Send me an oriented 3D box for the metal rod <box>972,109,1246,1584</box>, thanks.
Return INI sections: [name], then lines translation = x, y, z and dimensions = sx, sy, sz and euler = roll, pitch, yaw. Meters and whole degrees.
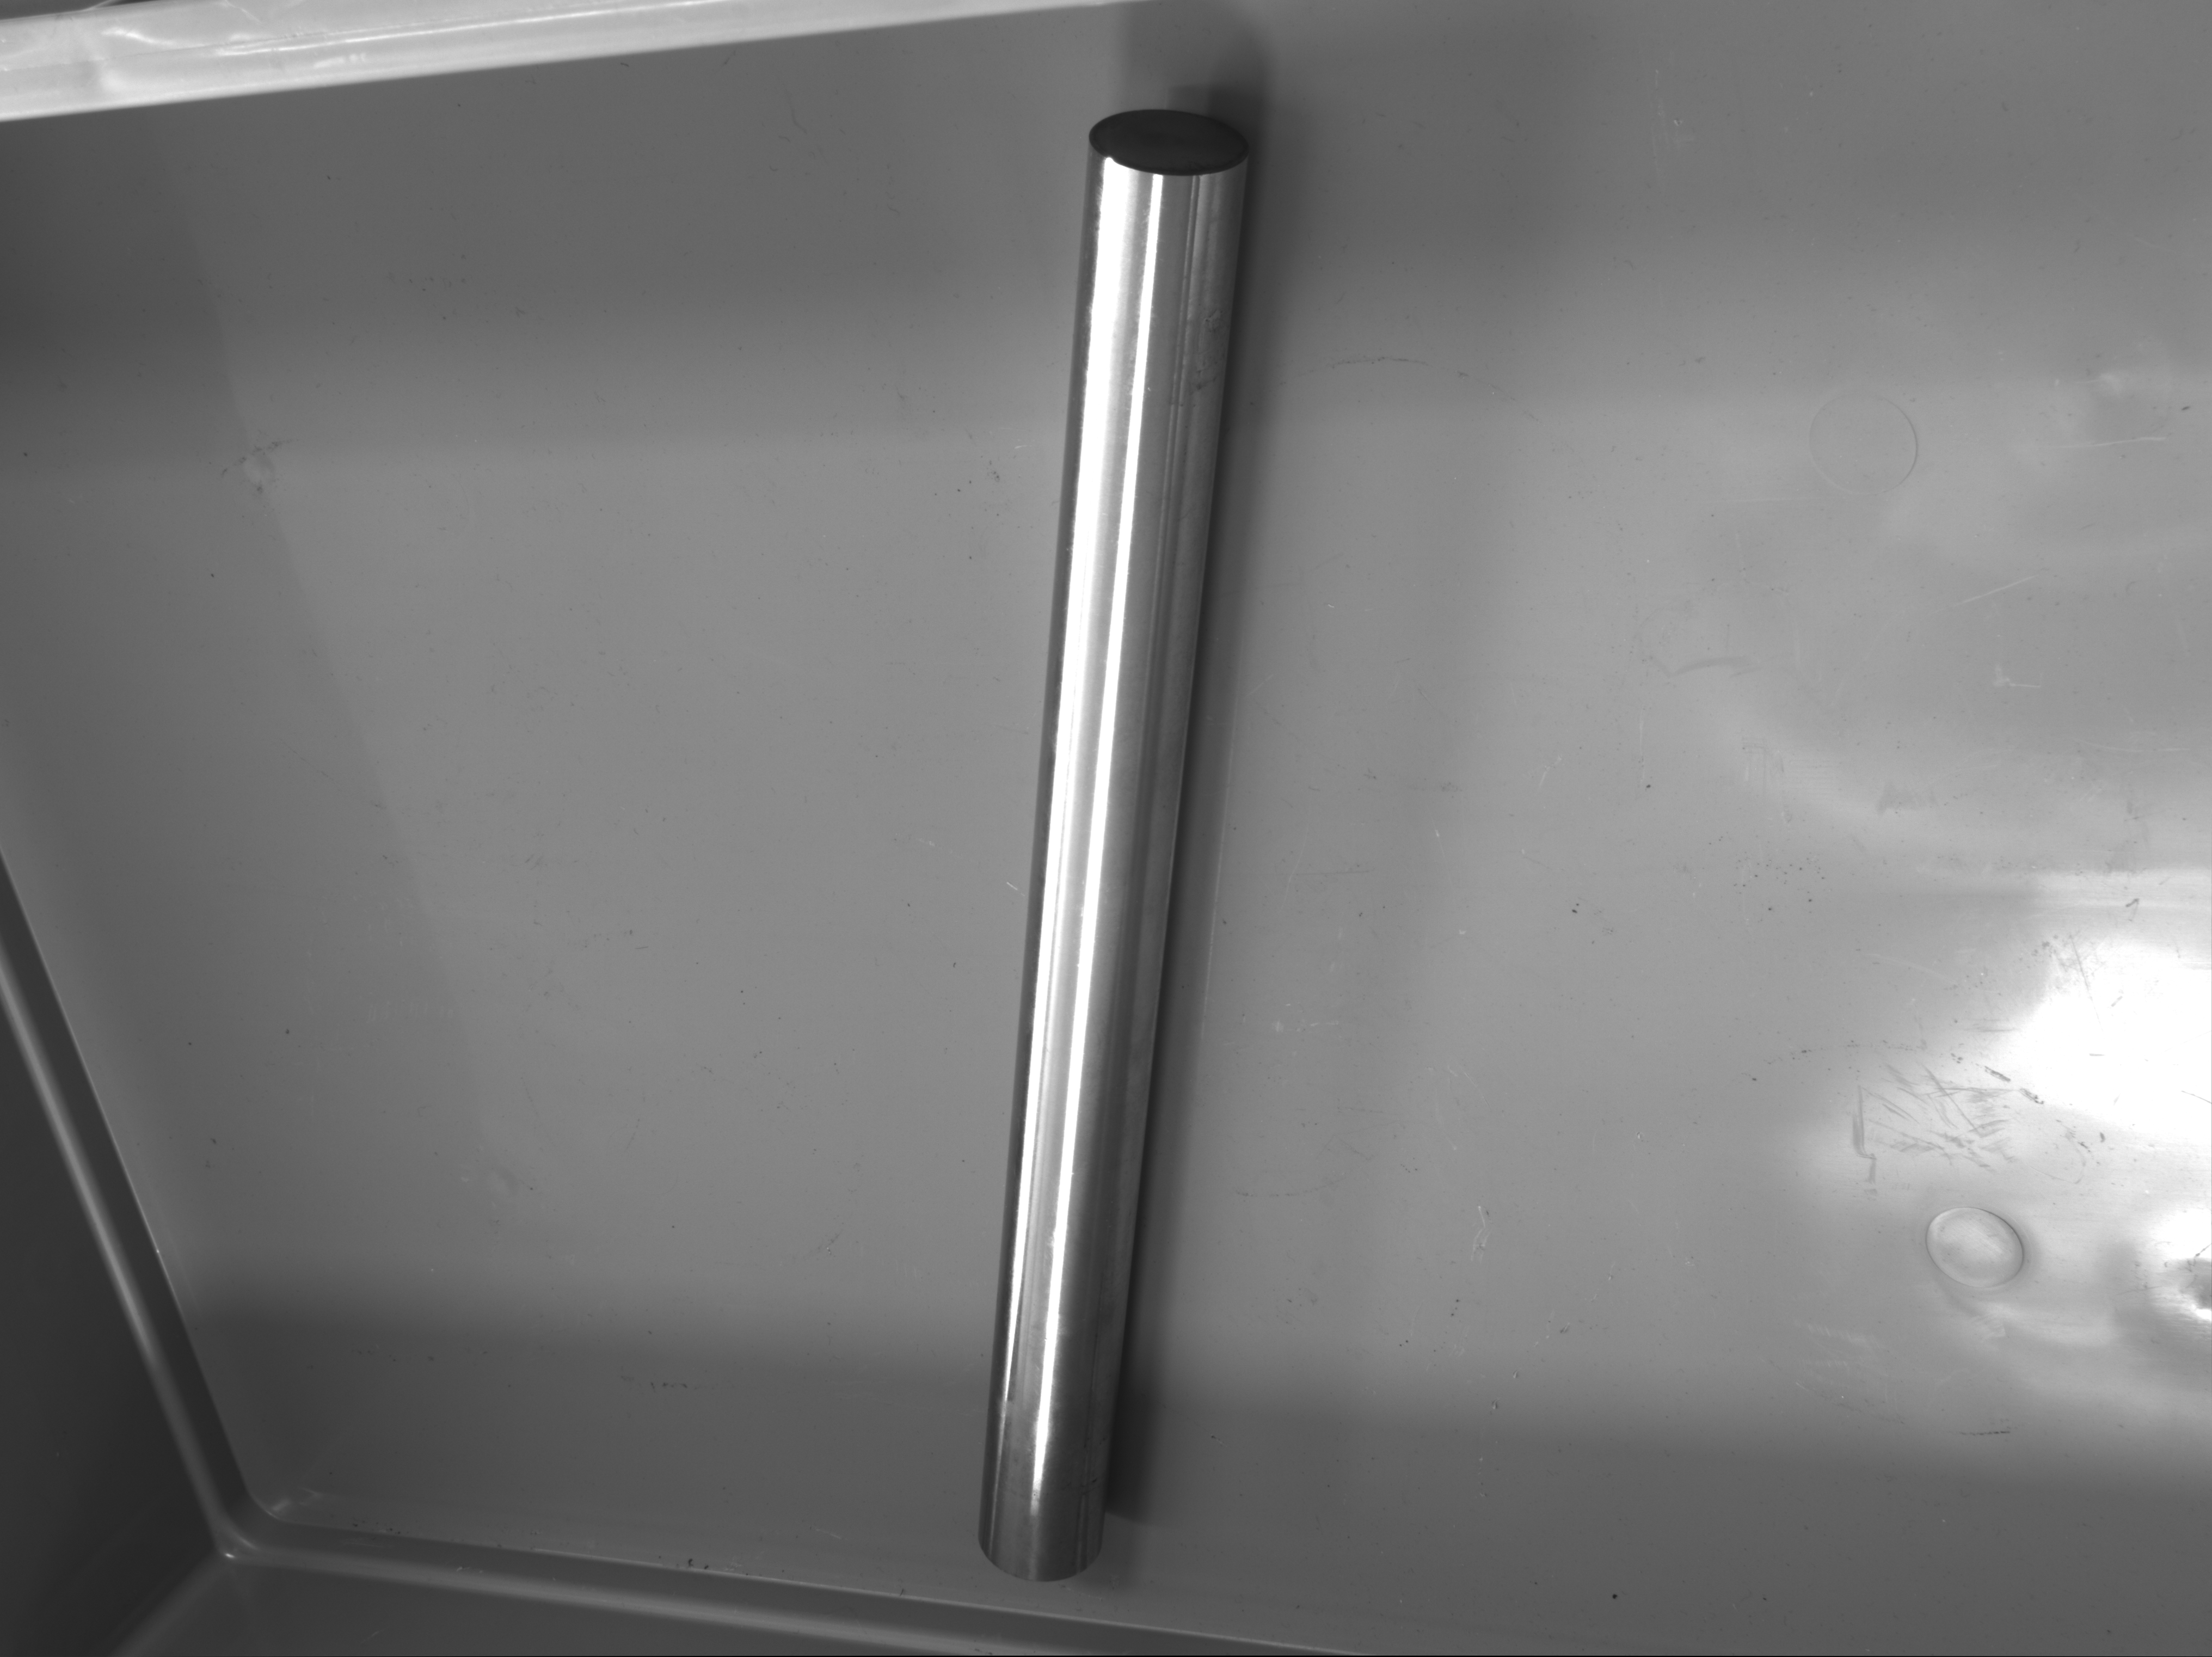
[metal rod]
translation = -0.003, 0.018, 0.653
dimensions = 0.025, 0.025, 0.300
euler = 18, 125, 18
